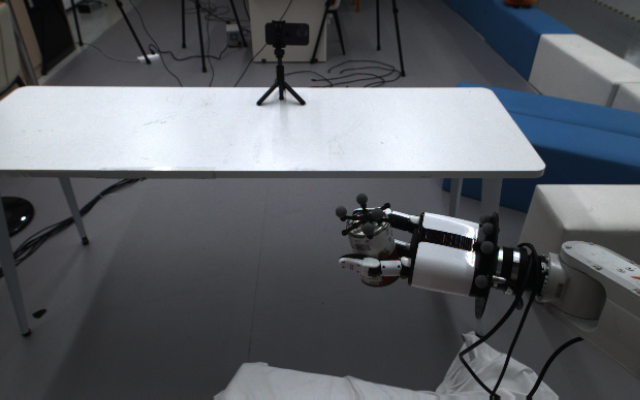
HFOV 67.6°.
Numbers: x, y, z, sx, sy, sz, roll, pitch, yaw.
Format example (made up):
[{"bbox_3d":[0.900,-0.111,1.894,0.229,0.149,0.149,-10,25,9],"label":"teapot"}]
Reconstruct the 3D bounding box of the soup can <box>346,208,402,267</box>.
[{"bbox_3d":[0.084,0.073,0.740,0.067,0.101,0.067,-14,31,8],"label":"soup can"}]
